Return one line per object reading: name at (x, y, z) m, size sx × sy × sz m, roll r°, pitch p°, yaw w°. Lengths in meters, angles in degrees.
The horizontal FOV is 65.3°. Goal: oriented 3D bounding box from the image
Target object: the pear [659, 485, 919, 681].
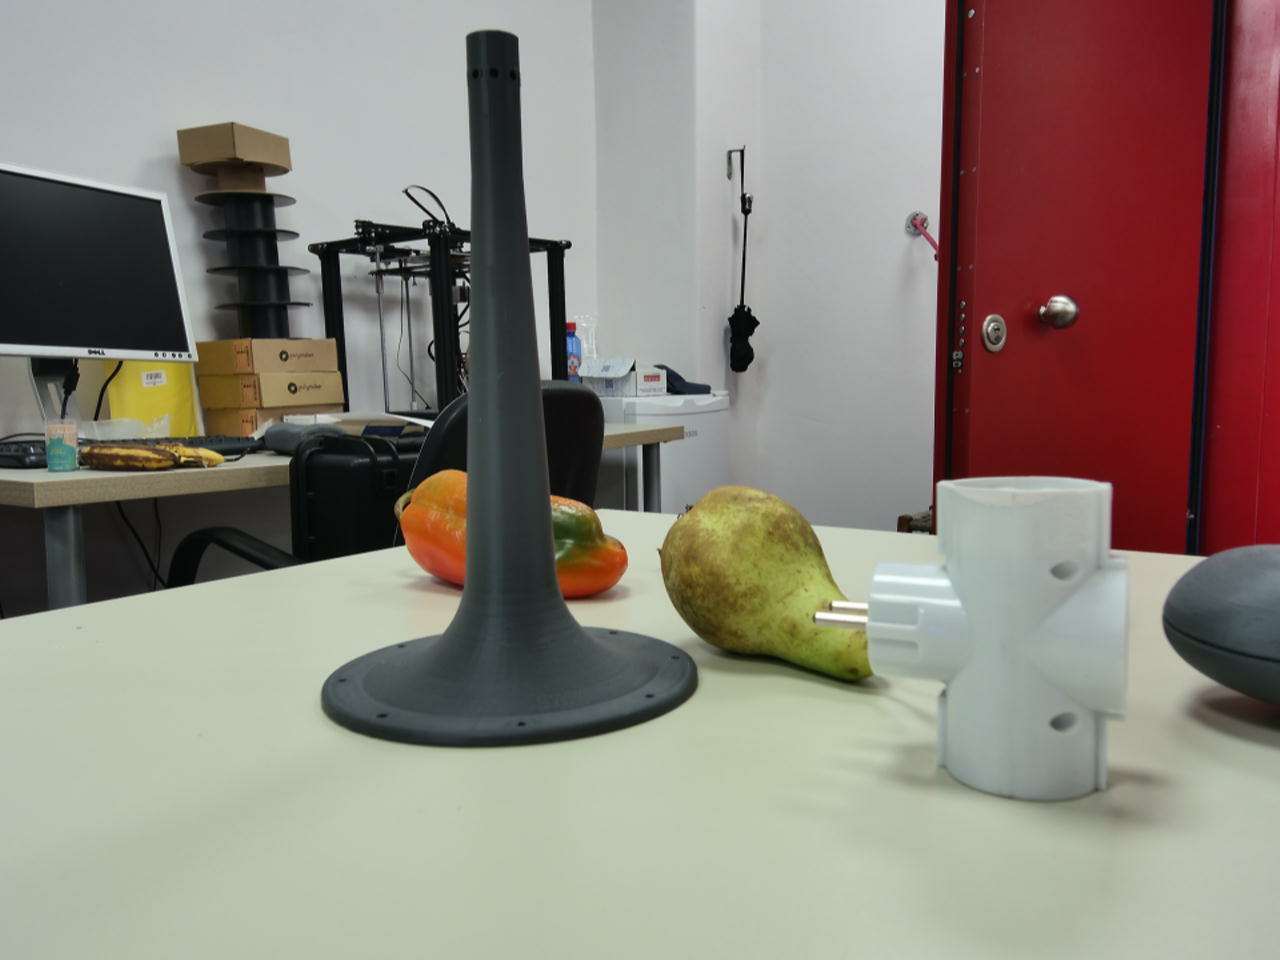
pear at (0.071, 0.042, 0.432) m, size 0.144 × 0.075 × 0.071 m, roll 4°, pitch 5°, yaw 44°
